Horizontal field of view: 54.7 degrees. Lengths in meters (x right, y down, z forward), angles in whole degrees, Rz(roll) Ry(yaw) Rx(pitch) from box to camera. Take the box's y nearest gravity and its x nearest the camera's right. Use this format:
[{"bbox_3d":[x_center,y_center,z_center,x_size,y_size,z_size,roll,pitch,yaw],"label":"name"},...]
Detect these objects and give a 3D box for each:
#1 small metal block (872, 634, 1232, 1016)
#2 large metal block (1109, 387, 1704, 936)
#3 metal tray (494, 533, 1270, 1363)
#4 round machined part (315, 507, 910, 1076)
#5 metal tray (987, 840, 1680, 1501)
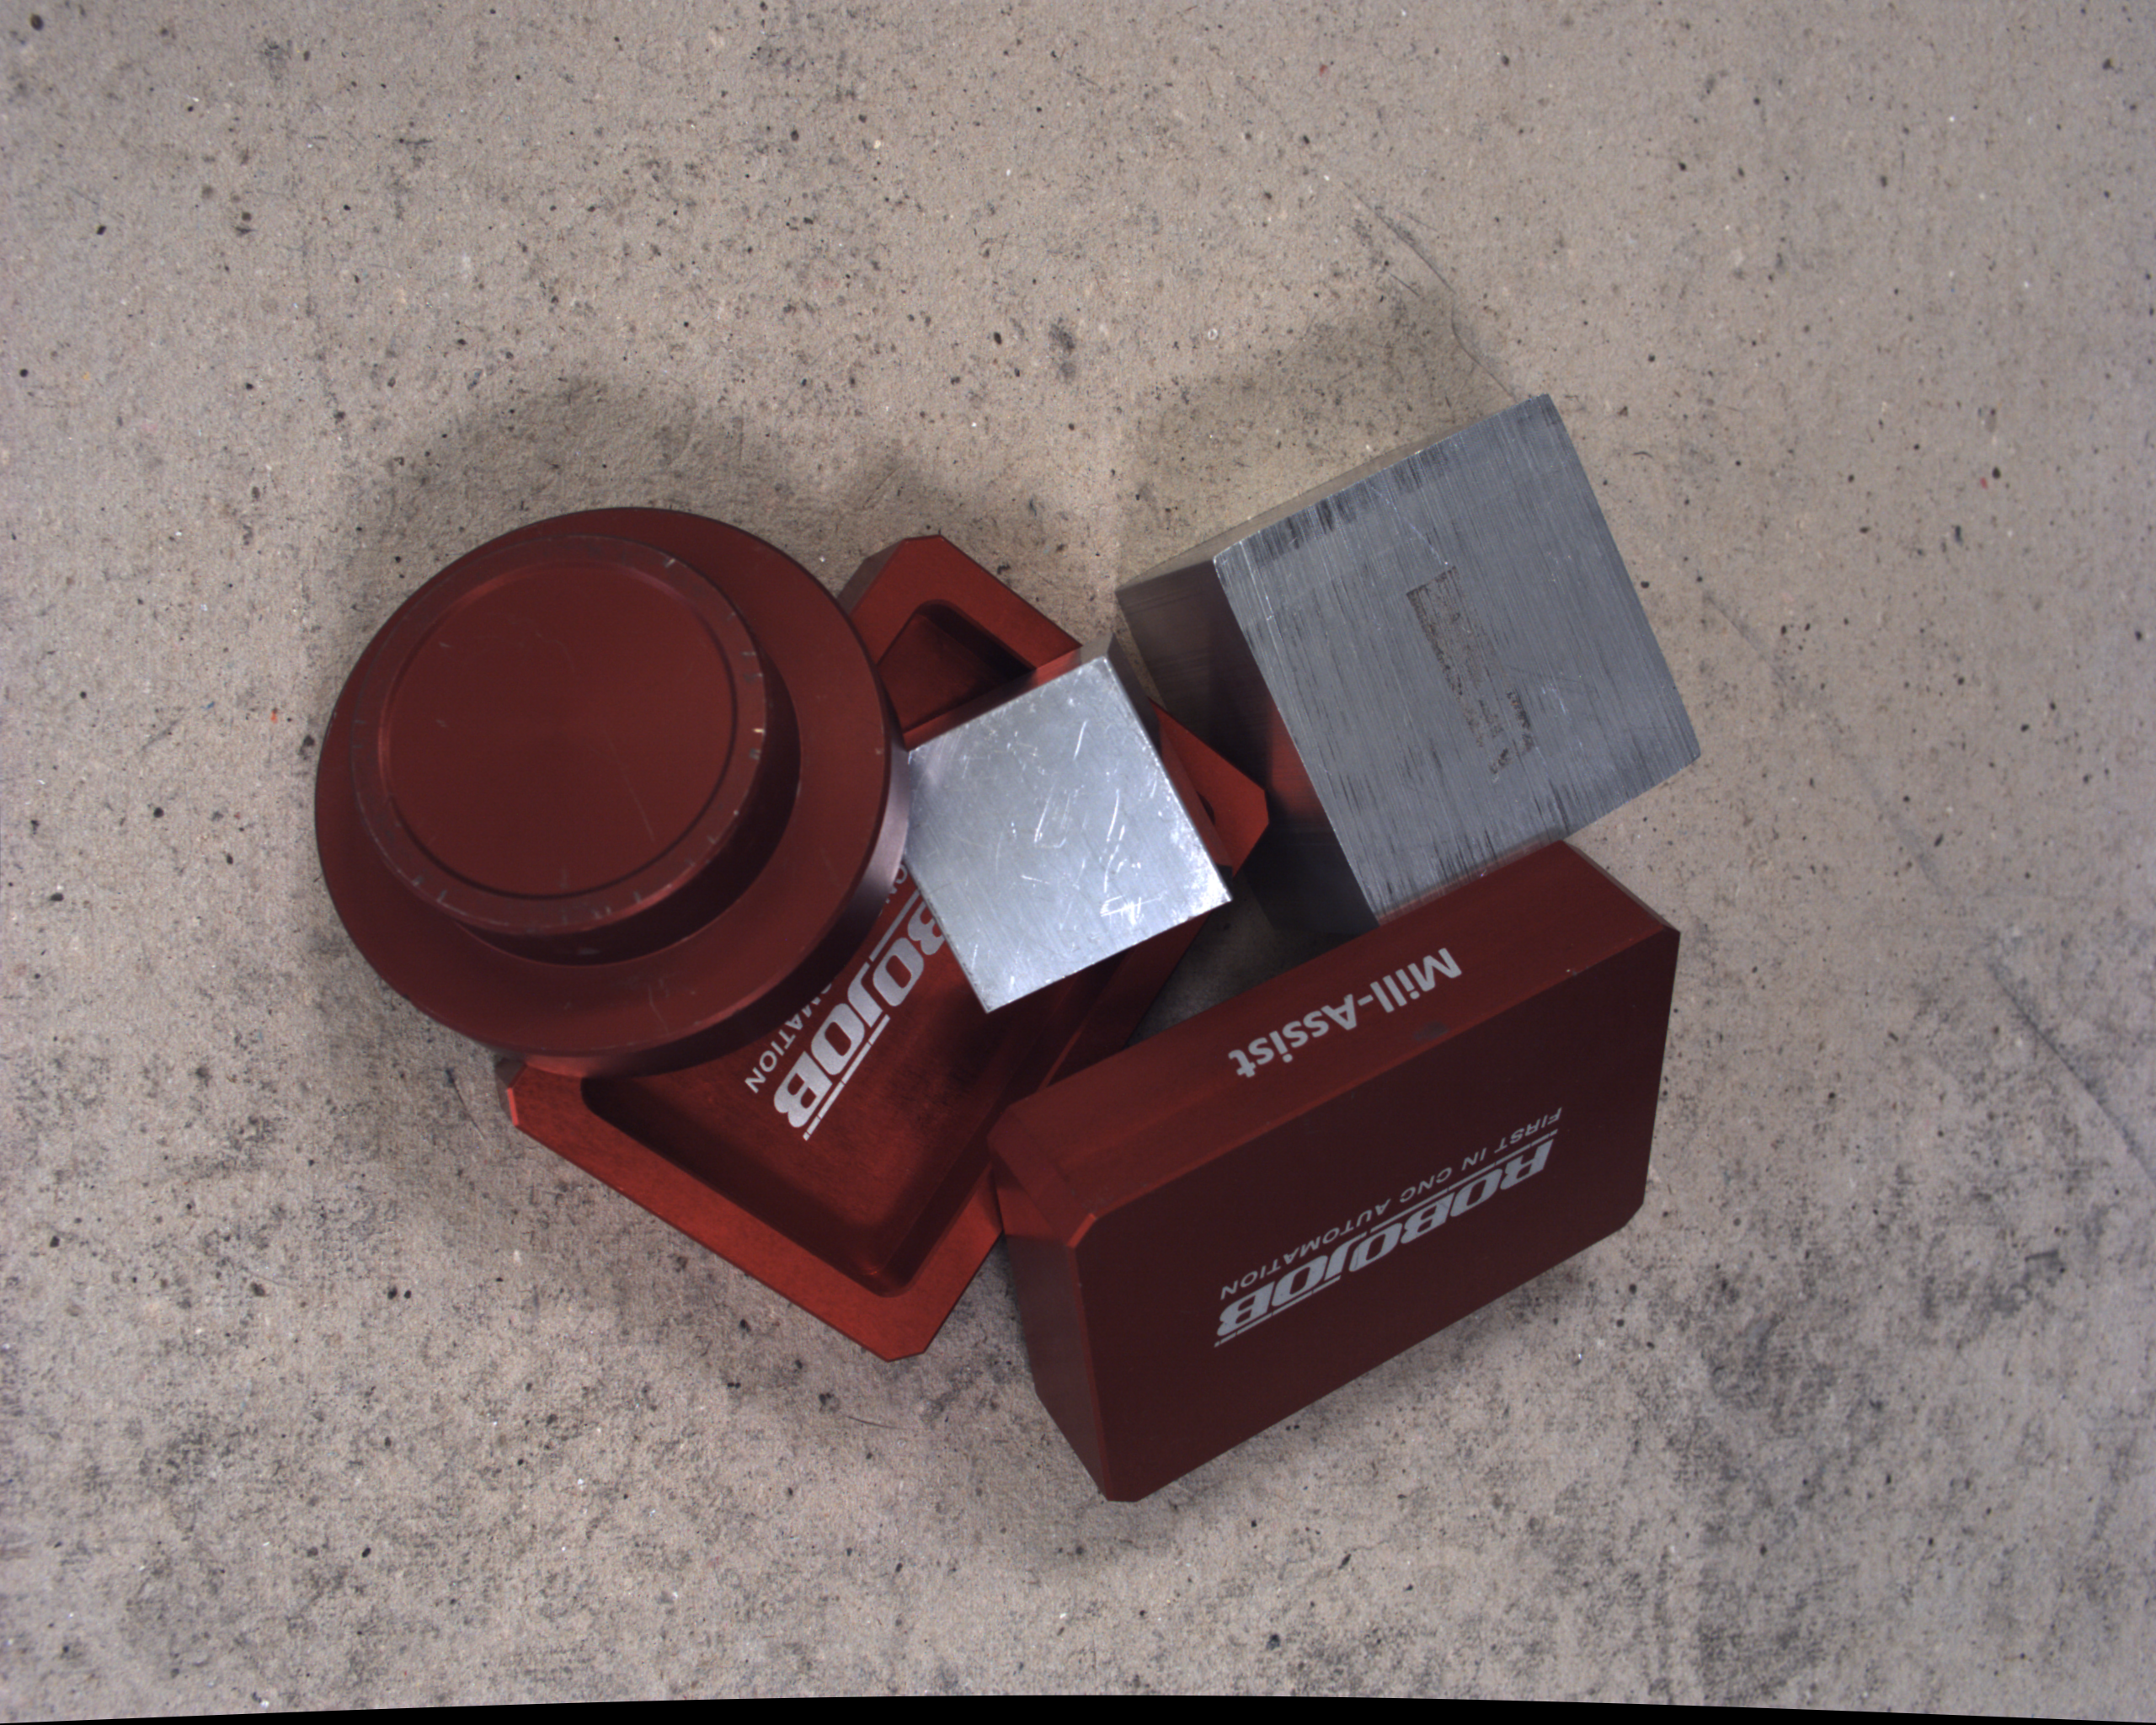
[{"bbox_3d":[-0.006,-0.007,0.384,0.050,0.025,0.050,-26,102,10],"label":"small metal block"},{"bbox_3d":[0.066,-0.039,0.421,0.080,0.050,0.080,-28,100,-18],"label":"large metal block"},{"bbox_3d":[-0.035,0.015,0.394,0.090,0.030,0.130,37,78,-17],"label":"metal tray"},{"bbox_3d":[-0.080,-0.016,0.349,0.099,0.042,0.098,-1,73,5],"label":"round machined part"},{"bbox_3d":[0.052,0.060,0.402,0.131,0.030,0.089,-24,134,-18],"label":"metal tray"}]
